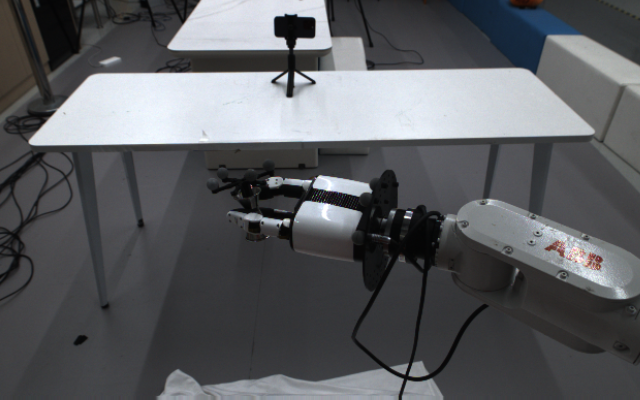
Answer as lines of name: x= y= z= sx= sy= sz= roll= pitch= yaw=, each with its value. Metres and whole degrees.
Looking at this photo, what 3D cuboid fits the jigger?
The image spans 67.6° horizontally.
jigger: x=-0.093 y=0.020 z=0.688 sx=0.043 sy=0.071 sz=0.043 roll=-12 pitch=24 yaw=5
